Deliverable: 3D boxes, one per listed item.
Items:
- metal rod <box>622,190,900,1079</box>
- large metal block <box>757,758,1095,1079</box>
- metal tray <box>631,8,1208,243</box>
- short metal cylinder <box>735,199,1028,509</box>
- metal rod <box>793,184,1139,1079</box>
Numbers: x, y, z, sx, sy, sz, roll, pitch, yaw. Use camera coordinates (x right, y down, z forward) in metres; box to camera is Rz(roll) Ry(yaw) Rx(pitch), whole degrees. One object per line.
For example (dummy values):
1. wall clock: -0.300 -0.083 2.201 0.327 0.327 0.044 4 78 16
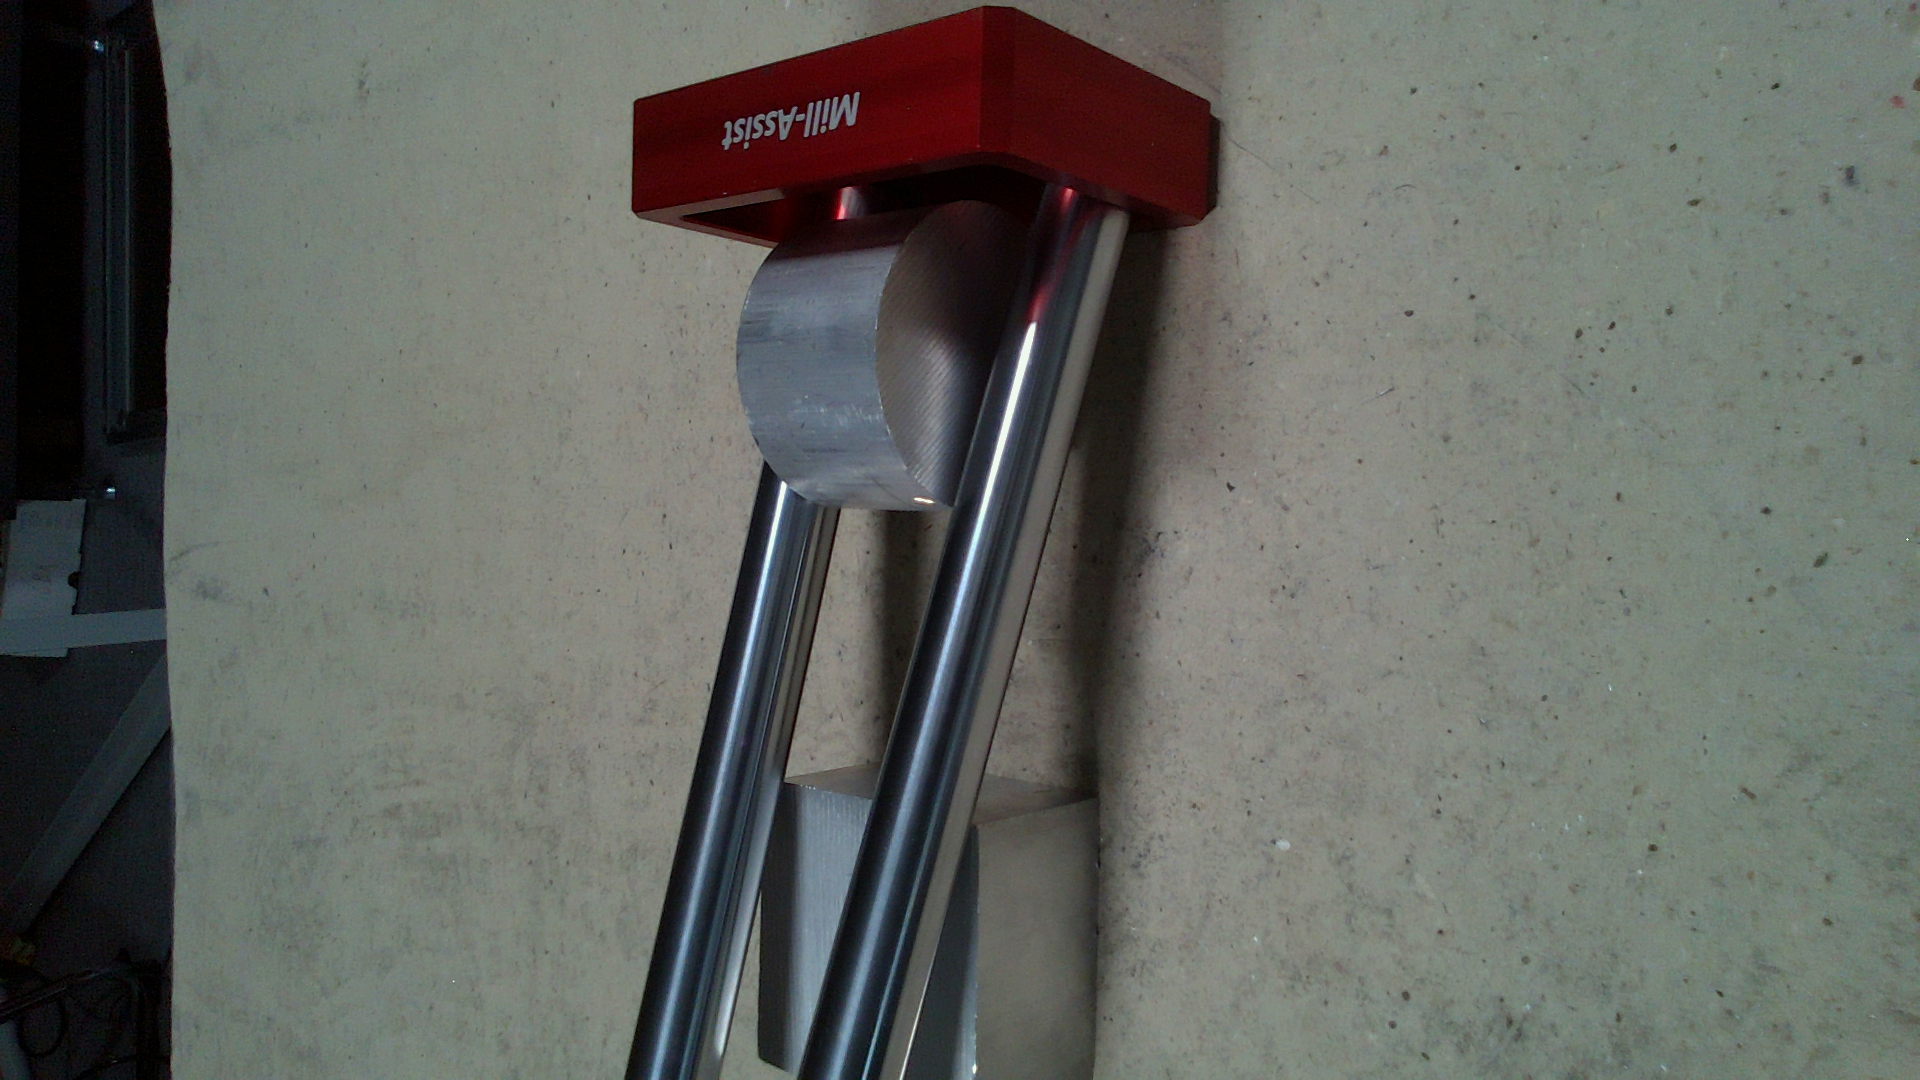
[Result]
1. metal rod: -0.058 0.045 0.384 0.025 0.025 0.300 2 76 40
2. large metal block: -0.010 0.109 0.385 0.080 0.050 0.080 2 91 40
3. metal tray: -0.013 -0.100 0.362 0.129 0.090 0.030 3 92 40
4. short metal cylinder: -0.013 -0.048 0.371 0.050 0.080 0.080 2 92 40
5. metal rod: -0.004 0.048 0.338 0.025 0.025 0.300 11 82 40
